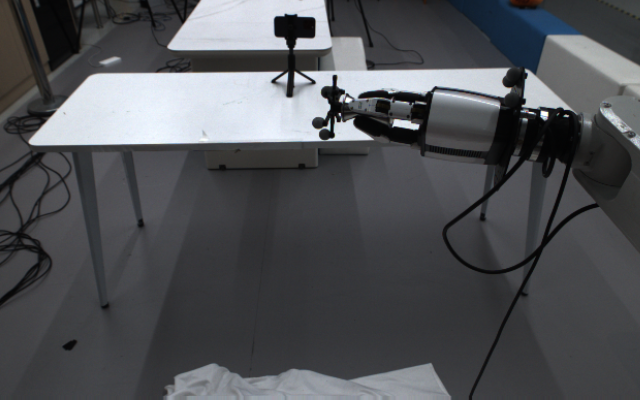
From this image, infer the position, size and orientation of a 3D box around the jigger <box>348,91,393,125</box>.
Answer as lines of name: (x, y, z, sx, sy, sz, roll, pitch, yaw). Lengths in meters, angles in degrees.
jigger: (0.073, -0.129, 0.668, 0.071, 0.043, 0.043, 8, 35, 16)
